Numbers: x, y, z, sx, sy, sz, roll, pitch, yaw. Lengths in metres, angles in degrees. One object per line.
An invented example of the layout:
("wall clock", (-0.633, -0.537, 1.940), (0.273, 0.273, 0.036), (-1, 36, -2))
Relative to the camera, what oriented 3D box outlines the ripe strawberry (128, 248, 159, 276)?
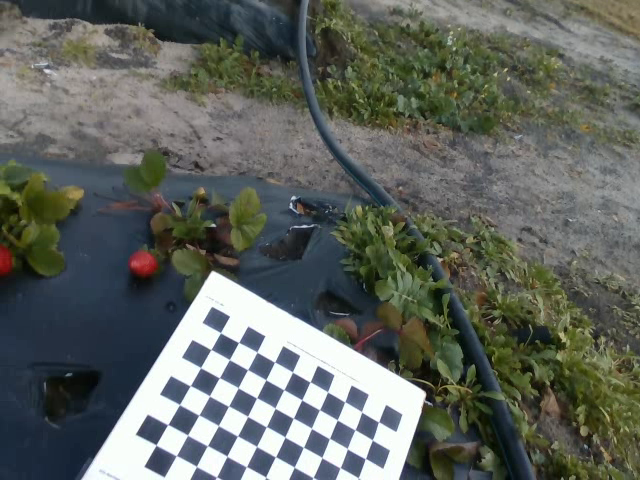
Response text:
("ripe strawberry", (-0.222, 0.016, 0.683), (0.041, 0.045, 0.052), (-32, -1, 9))
